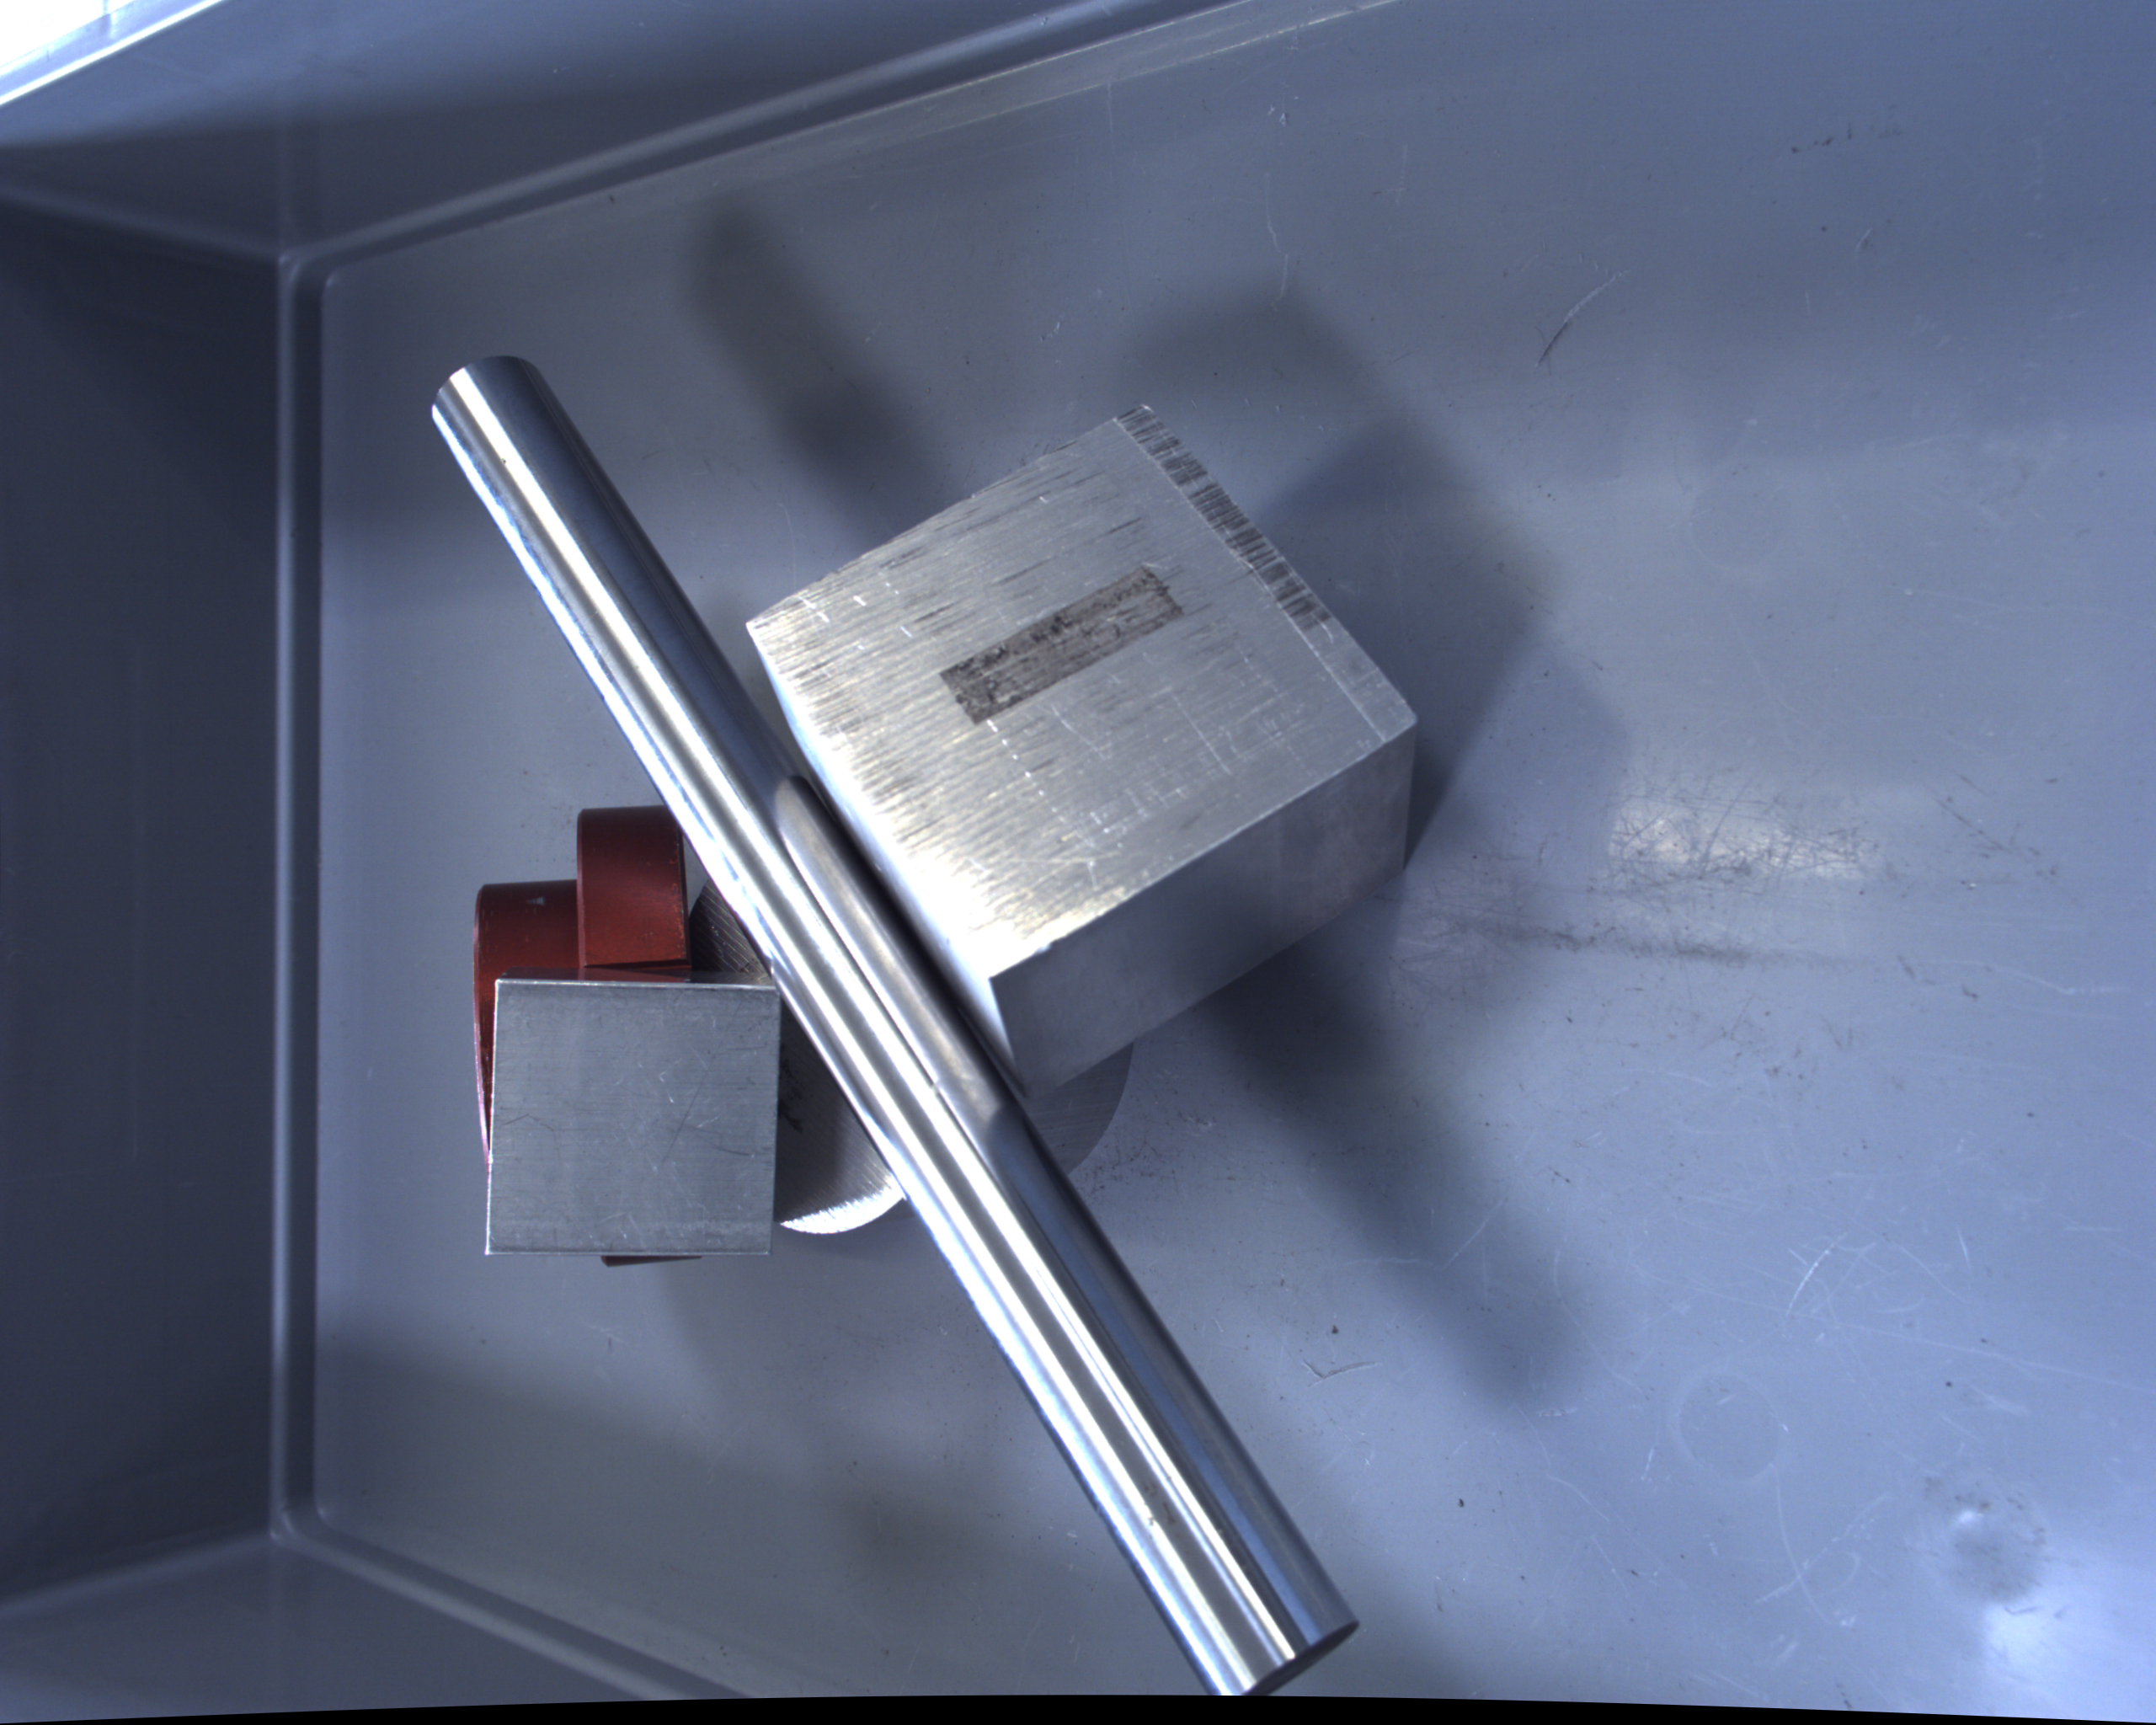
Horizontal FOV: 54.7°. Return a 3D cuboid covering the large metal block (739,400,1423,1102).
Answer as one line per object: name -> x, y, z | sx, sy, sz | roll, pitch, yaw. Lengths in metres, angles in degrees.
large metal block -> 0.001, -0.020, 0.359 | 0.080, 0.050, 0.080 | -31, 63, -11

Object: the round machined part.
round machined part -> -0.104, 0.037, 0.446 | 0.098, 0.042, 0.097 | 177, 89, -78

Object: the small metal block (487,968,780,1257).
small metal block -> -0.082, 0.046, 0.388 | 0.025, 0.050, 0.050 | -166, 78, -80

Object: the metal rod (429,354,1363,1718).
metal rod -> -0.047, 0.012, 0.378 | 0.025, 0.025, 0.300 | -51, 61, 28

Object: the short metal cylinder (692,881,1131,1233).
short metal cylinder -> -0.036, 0.031, 0.418 | 0.080, 0.050, 0.079 | 0, 90, 40
